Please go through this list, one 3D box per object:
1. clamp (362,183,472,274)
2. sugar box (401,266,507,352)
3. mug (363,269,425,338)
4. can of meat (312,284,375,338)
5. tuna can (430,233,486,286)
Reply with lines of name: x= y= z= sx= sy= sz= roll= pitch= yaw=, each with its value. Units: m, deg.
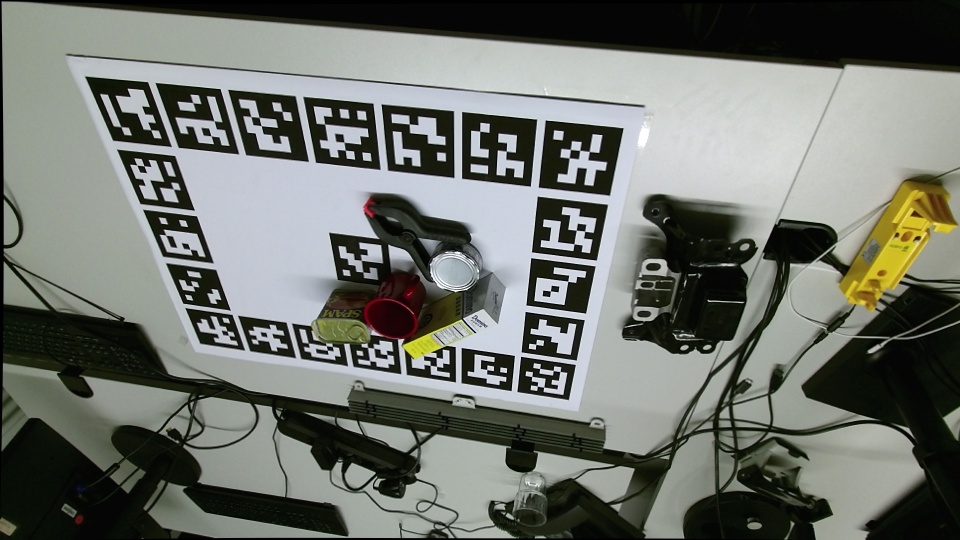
clamp: x=-0.108 y=-0.075 z=0.830 sx=0.165 sy=0.036 sz=0.122 roll=38 pitch=128 yaw=-10
sugar box: x=-0.043 y=0.065 z=0.881 sx=0.177 sy=0.092 sz=0.045 roll=-27 pitch=117 yaw=29
mug: x=-0.135 y=0.044 z=0.882 sx=0.093 sy=0.081 sz=0.117 roll=28 pitch=124 yaw=-7
can of meat: x=-0.233 y=0.068 z=0.930 sx=0.102 sy=0.083 sz=0.058 roll=1 pitch=126 yaw=13
tuna can: x=-0.034 y=-0.018 z=0.848 sx=0.086 sy=0.033 sz=0.086 roll=5 pitch=124 yaw=8
